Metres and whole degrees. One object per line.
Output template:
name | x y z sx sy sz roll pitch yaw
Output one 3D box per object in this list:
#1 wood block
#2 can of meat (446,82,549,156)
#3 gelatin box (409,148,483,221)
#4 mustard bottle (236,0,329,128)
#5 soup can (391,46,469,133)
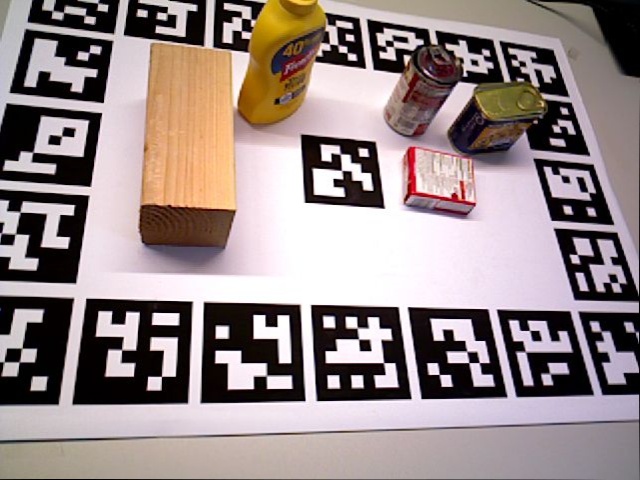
wood block | -0.137 -0.100 0.577 0.090 0.092 0.204 4 59 -16
can of meat | 0.229 -0.158 0.712 0.100 0.085 0.057 -10 67 -23
gelatin box | 0.157 -0.068 0.672 0.089 0.031 0.072 11 63 -7
mustard bottle | -0.039 -0.211 0.606 0.094 0.196 0.058 -22 70 -26
soup can | 0.138 -0.192 0.682 0.067 0.104 0.067 6 63 -13
